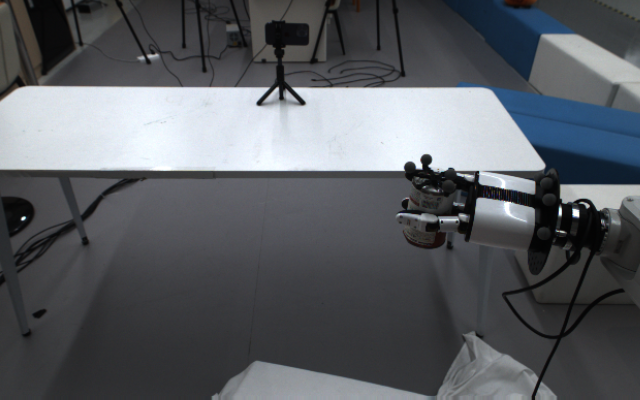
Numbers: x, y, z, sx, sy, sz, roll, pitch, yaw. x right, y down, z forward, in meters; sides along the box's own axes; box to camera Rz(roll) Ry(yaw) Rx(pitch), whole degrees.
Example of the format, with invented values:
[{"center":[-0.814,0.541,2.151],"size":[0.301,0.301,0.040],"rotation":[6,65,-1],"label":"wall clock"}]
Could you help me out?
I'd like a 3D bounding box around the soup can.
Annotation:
[{"center":[0.169,0.015,0.746],"size":[0.067,0.101,0.067],"rotation":[2,32,-1],"label":"soup can"}]
